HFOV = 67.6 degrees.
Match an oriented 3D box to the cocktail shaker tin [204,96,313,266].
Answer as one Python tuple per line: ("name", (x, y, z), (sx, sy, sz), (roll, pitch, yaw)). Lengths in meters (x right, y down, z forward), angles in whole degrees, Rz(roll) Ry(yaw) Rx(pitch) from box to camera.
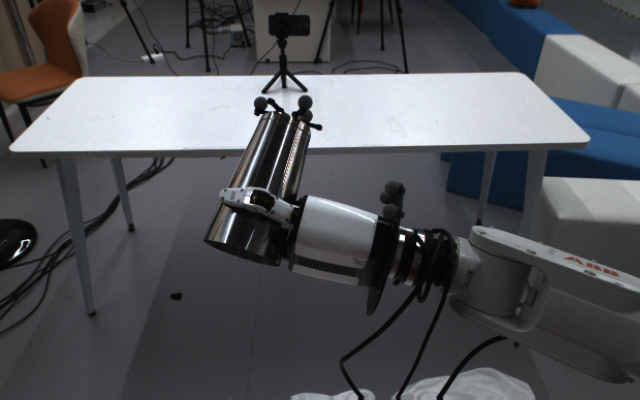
("cocktail shaker tin", (-0.066, -0.016, 0.580), (0.093, 0.093, 0.170), (13, 73, 15))
